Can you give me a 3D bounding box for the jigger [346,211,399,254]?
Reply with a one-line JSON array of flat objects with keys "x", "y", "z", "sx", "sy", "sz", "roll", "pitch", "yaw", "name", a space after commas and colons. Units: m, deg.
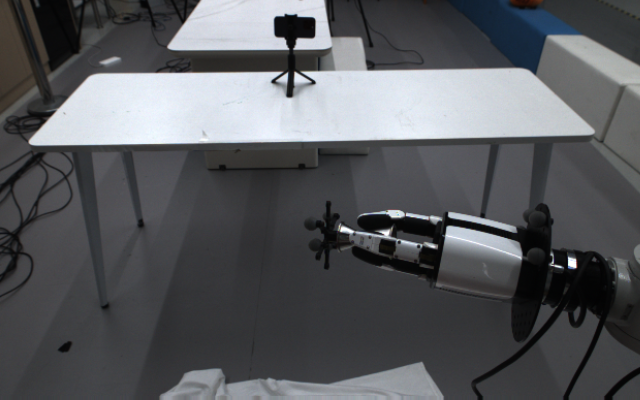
[{"x": 0.066, "y": 0.044, "z": 0.606, "sx": 0.071, "sy": 0.043, "sz": 0.043, "roll": 3, "pitch": 34, "yaw": 18, "name": "jigger"}]
